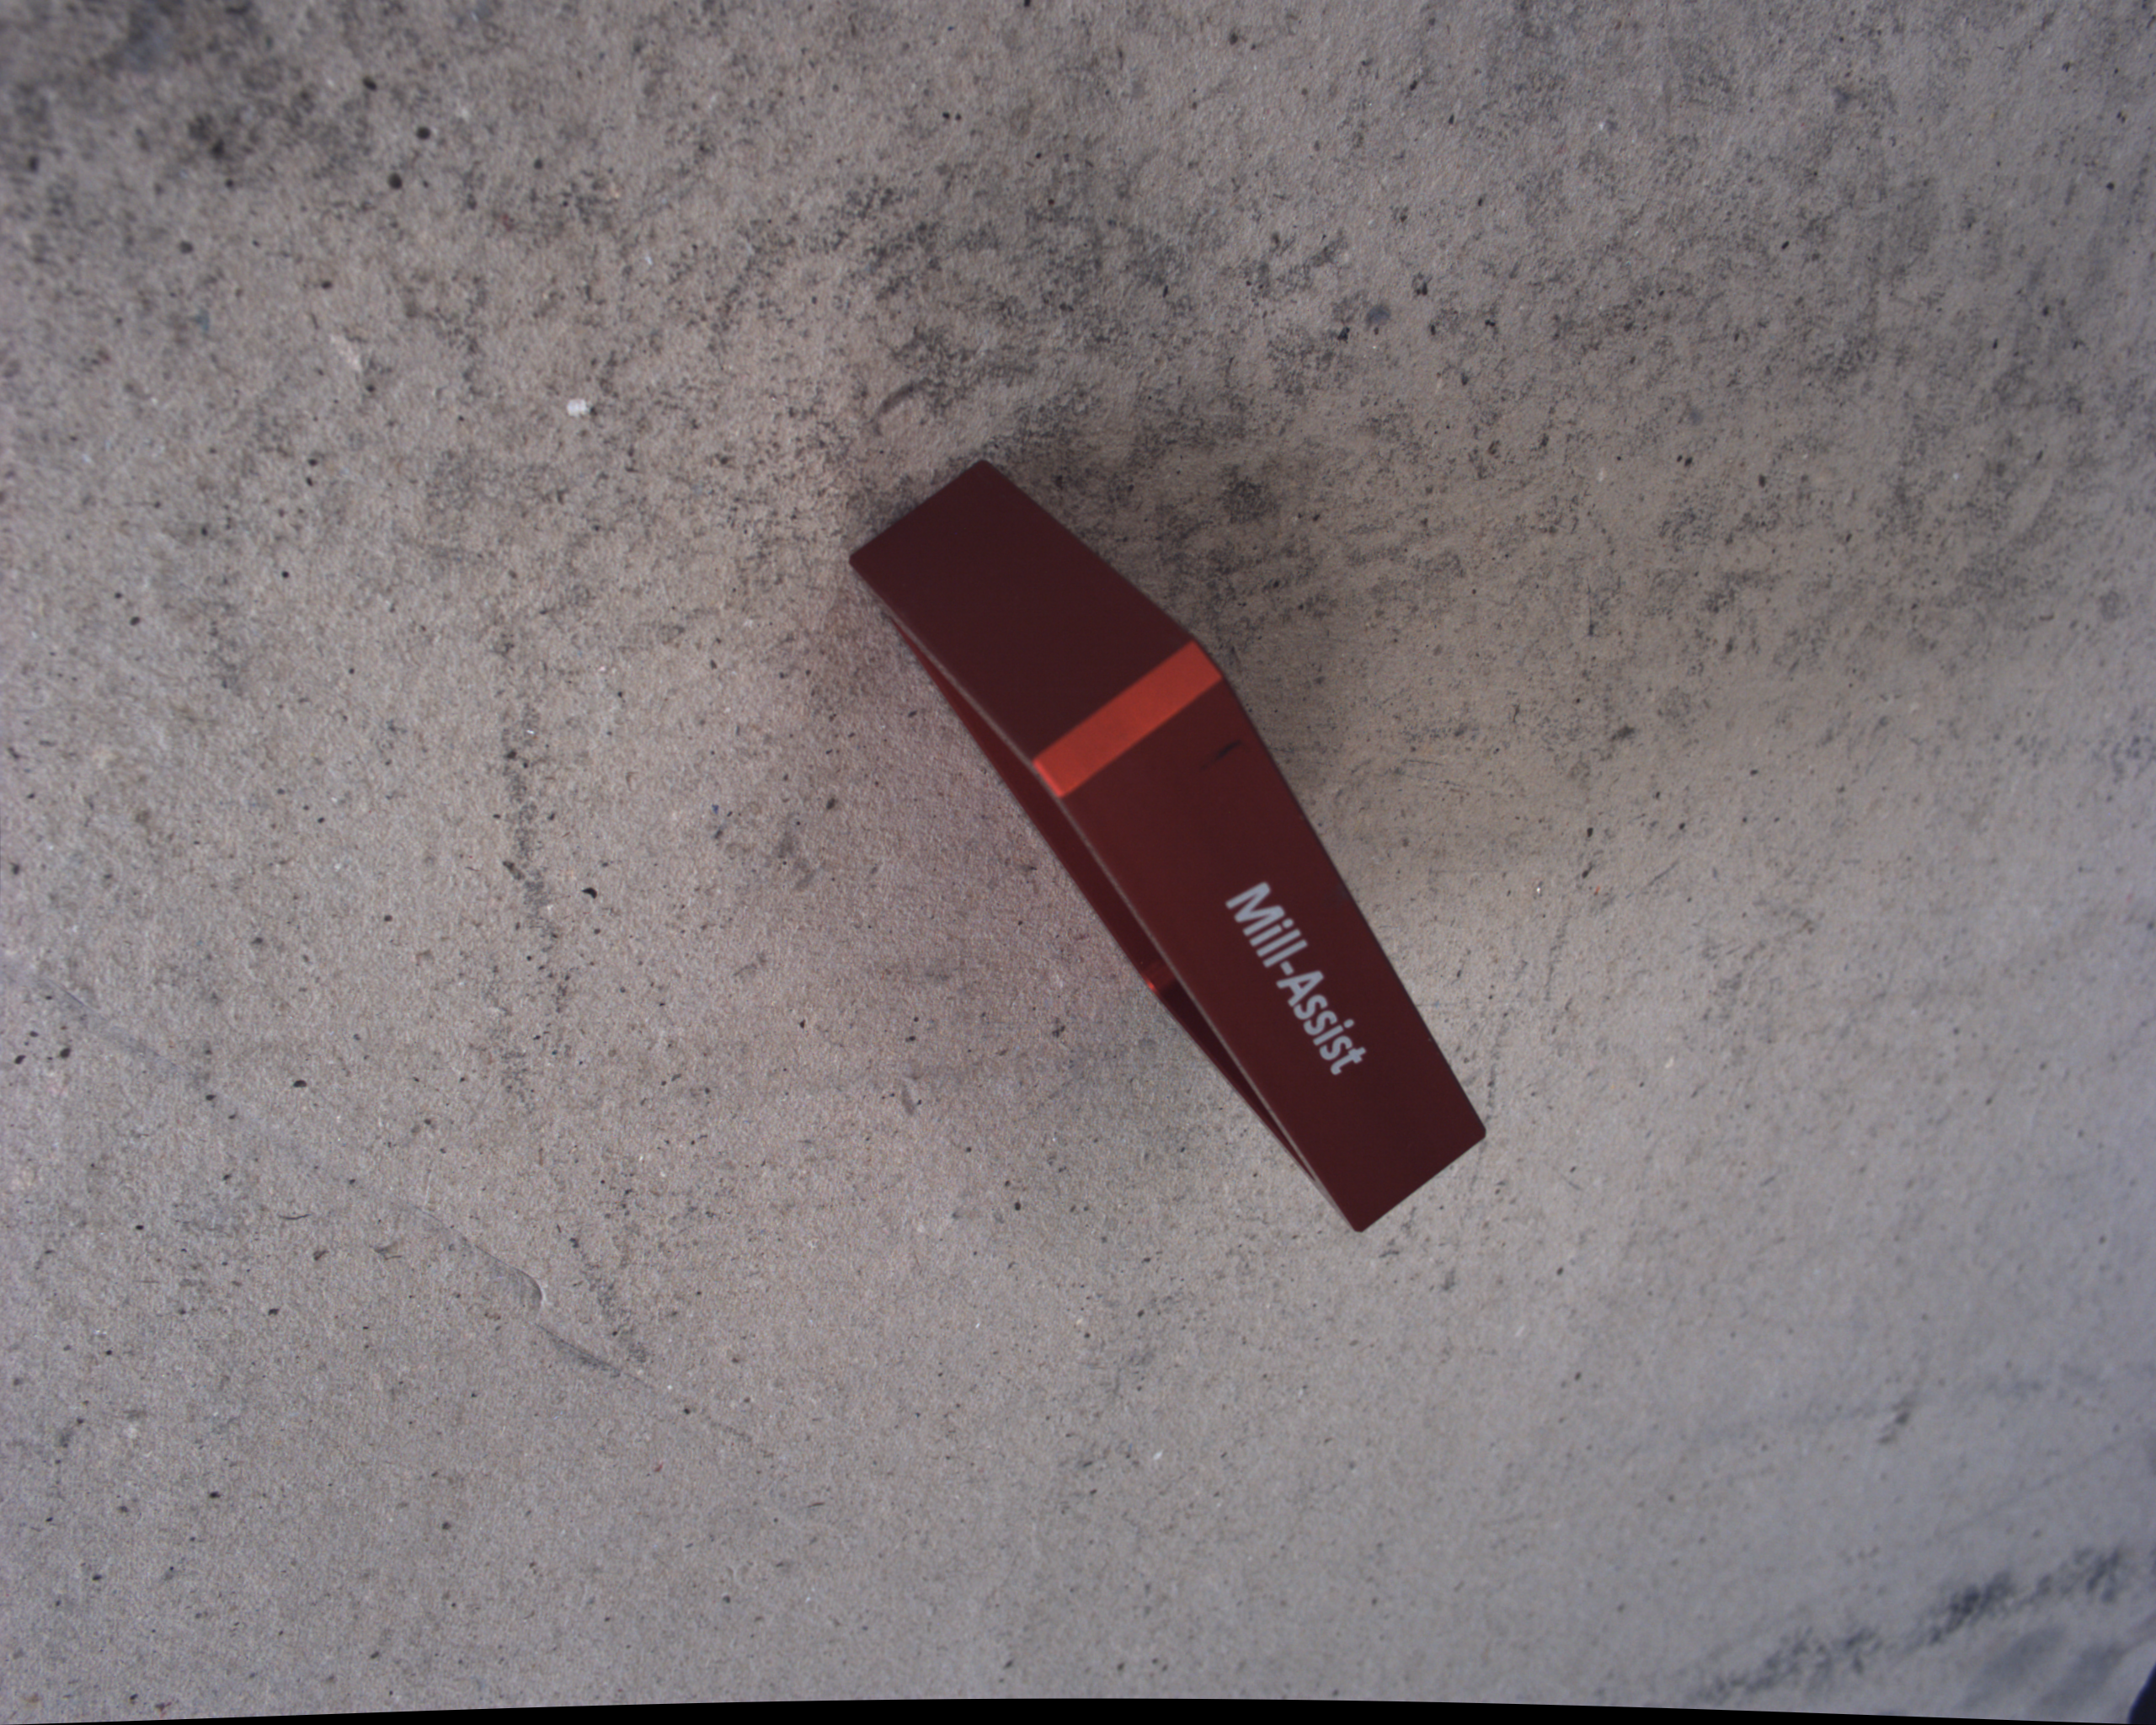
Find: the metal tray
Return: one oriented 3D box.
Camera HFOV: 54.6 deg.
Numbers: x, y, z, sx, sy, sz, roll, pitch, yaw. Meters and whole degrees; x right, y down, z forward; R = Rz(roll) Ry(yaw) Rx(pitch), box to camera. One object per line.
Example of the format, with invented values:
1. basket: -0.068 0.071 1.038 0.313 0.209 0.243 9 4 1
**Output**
1. metal tray: 0.017 -0.001 0.374 0.030 0.090 0.130 -37 130 -3
